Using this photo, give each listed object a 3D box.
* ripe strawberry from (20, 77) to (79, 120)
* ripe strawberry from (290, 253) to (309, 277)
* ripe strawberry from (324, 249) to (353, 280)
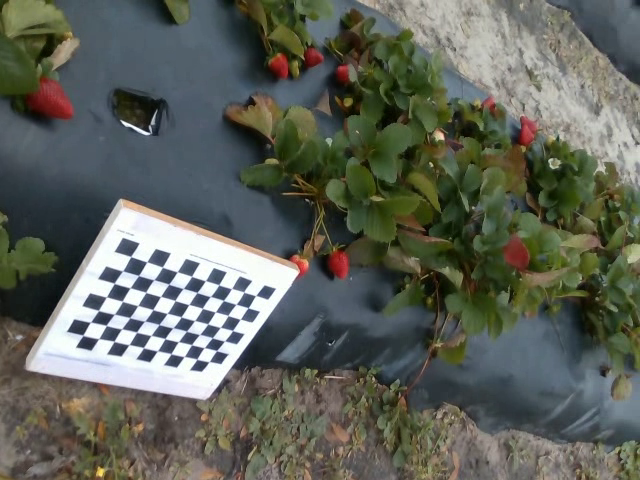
[{"bbox_3d":[-0.315,-0.161,0.721,0.064,0.046,0.049,42,18,-9],"label":"ripe strawberry"},{"bbox_3d":[-0.033,0.045,0.950,0.036,0.041,0.027,26,1,-29],"label":"ripe strawberry"},{"bbox_3d":[0.032,0.040,0.998,0.044,0.059,0.042,-15,17,-4],"label":"ripe strawberry"}]
